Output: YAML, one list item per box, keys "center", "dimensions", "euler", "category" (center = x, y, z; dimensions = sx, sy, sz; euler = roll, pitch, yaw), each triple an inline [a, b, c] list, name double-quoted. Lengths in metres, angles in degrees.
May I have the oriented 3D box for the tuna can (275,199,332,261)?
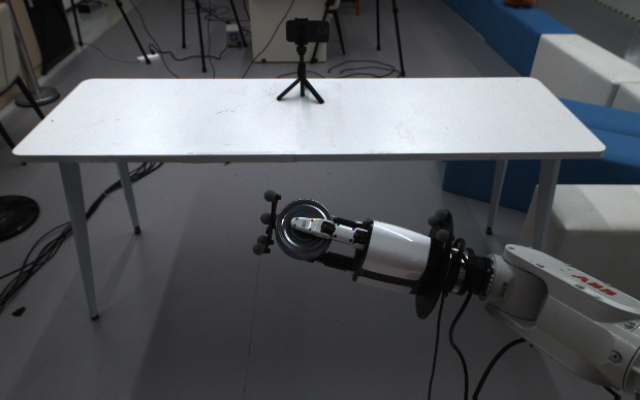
- center: [-0.020, 0.041, 0.695]
  dimensions: [0.085, 0.034, 0.085]
  euler: [1, 73, -5]
  category: "tuna can"
